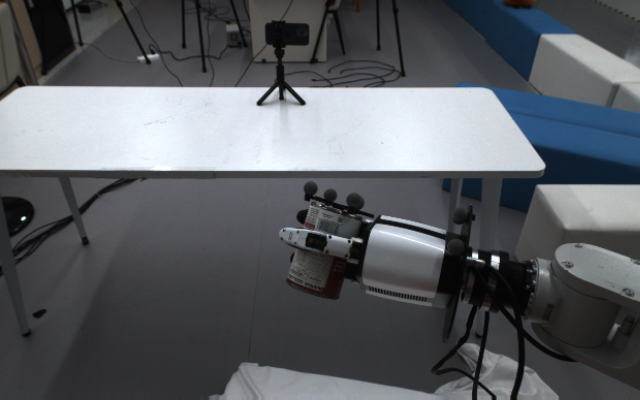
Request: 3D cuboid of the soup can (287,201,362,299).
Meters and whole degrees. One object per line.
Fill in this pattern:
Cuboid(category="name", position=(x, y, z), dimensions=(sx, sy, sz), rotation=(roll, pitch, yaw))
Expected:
Cuboid(category="soup can", position=(0.007, 0.060, 0.583), dimensions=(0.067, 0.101, 0.067), rotation=(17, -1, 0))
